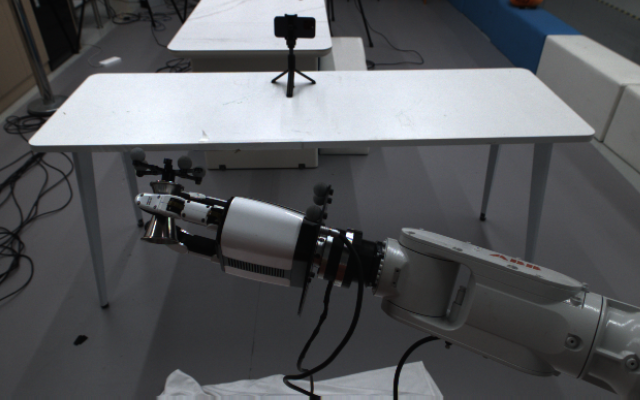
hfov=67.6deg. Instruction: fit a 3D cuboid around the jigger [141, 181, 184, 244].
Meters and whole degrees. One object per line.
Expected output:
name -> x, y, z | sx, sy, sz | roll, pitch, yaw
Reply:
jigger -> -0.184, 0.016, 0.569 | 0.043, 0.043, 0.071 | 3, 77, 1
